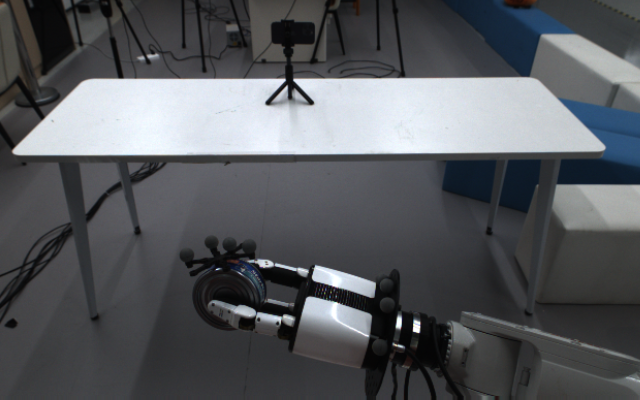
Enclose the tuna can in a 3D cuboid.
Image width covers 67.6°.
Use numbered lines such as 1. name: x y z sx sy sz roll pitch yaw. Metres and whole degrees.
1. tuna can: -0.107 0.122 0.590 0.085 0.085 0.034 6 18 5
